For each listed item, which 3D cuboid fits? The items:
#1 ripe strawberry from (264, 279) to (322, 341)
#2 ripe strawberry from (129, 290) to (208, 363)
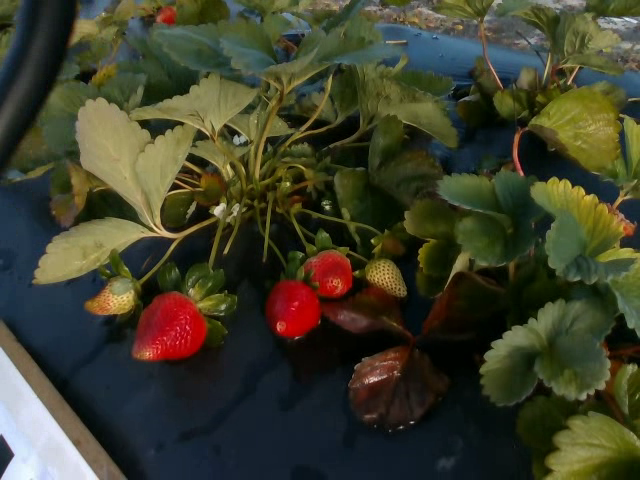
[{"bbox_3d":[-0.022,0.051,0.397,0.045,0.042,0.055,-40,6,18],"label":"ripe strawberry"},{"bbox_3d":[-0.107,0.061,0.400,0.050,0.049,0.065,-17,11,30],"label":"ripe strawberry"}]
